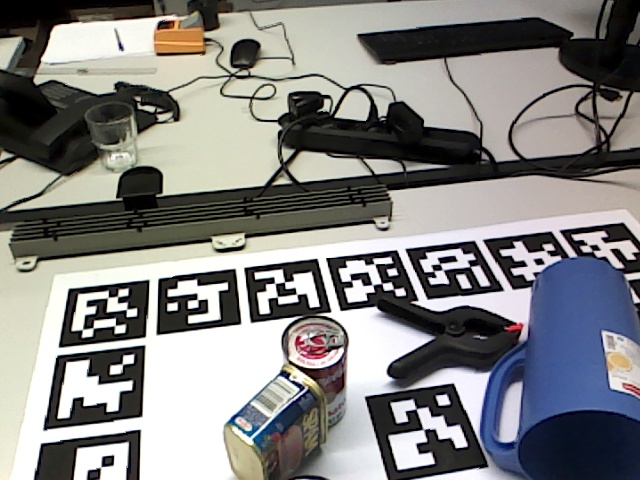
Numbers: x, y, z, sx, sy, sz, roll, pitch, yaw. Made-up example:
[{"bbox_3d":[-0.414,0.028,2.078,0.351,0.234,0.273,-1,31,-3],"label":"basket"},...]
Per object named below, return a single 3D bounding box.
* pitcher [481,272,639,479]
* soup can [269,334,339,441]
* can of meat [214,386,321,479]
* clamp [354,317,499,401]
[{"bbox_3d":[0.260,0.144,0.620,0.189,0.133,0.242,-11,28,23],"label":"pitcher"},{"bbox_3d":[-0.014,0.156,0.641,0.068,0.102,0.068,-2,42,2],"label":"soup can"},{"bbox_3d":[-0.049,0.201,0.580,0.058,0.101,0.083,33,54,32],"label":"can of meat"},{"bbox_3d":[0.131,0.132,0.730,0.165,0.036,0.122,-3,36,-8],"label":"clamp"}]
